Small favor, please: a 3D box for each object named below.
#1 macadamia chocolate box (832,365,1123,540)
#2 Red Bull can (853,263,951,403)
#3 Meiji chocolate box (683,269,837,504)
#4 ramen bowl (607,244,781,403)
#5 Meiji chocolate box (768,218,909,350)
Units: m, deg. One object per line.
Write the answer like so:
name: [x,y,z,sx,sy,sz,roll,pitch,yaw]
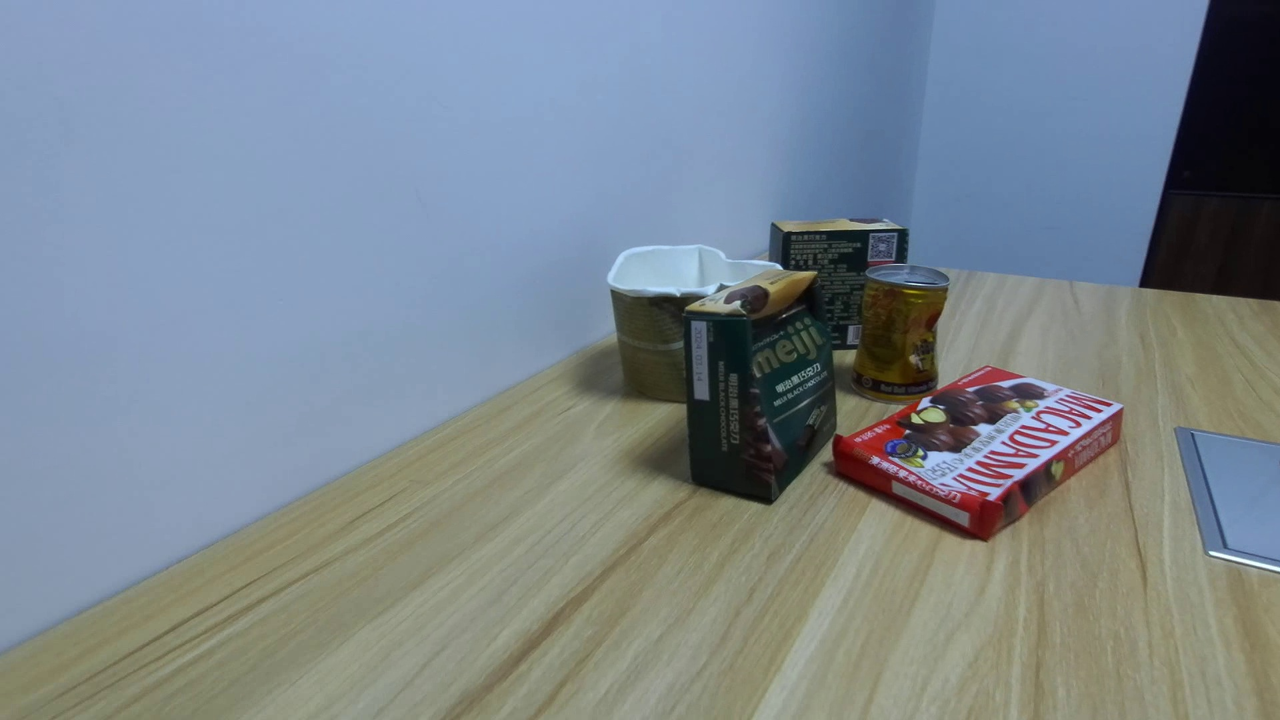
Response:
macadamia chocolate box: [0.215,0.050,0.445,0.184,0.028,0.105,-17,27,-35]
Red Bull can: [0.194,-0.020,0.530,0.072,0.092,0.072,0,21,0]
Meiji chocolate box: [0.077,0.009,0.433,0.051,0.117,0.118,4,20,35]
ramen bowl: [0.033,-0.031,0.569,0.134,0.097,0.113,-16,28,-34]
Meiji chocolate box: [0.173,-0.068,0.631,0.113,0.111,0.058,-2,20,-3]
